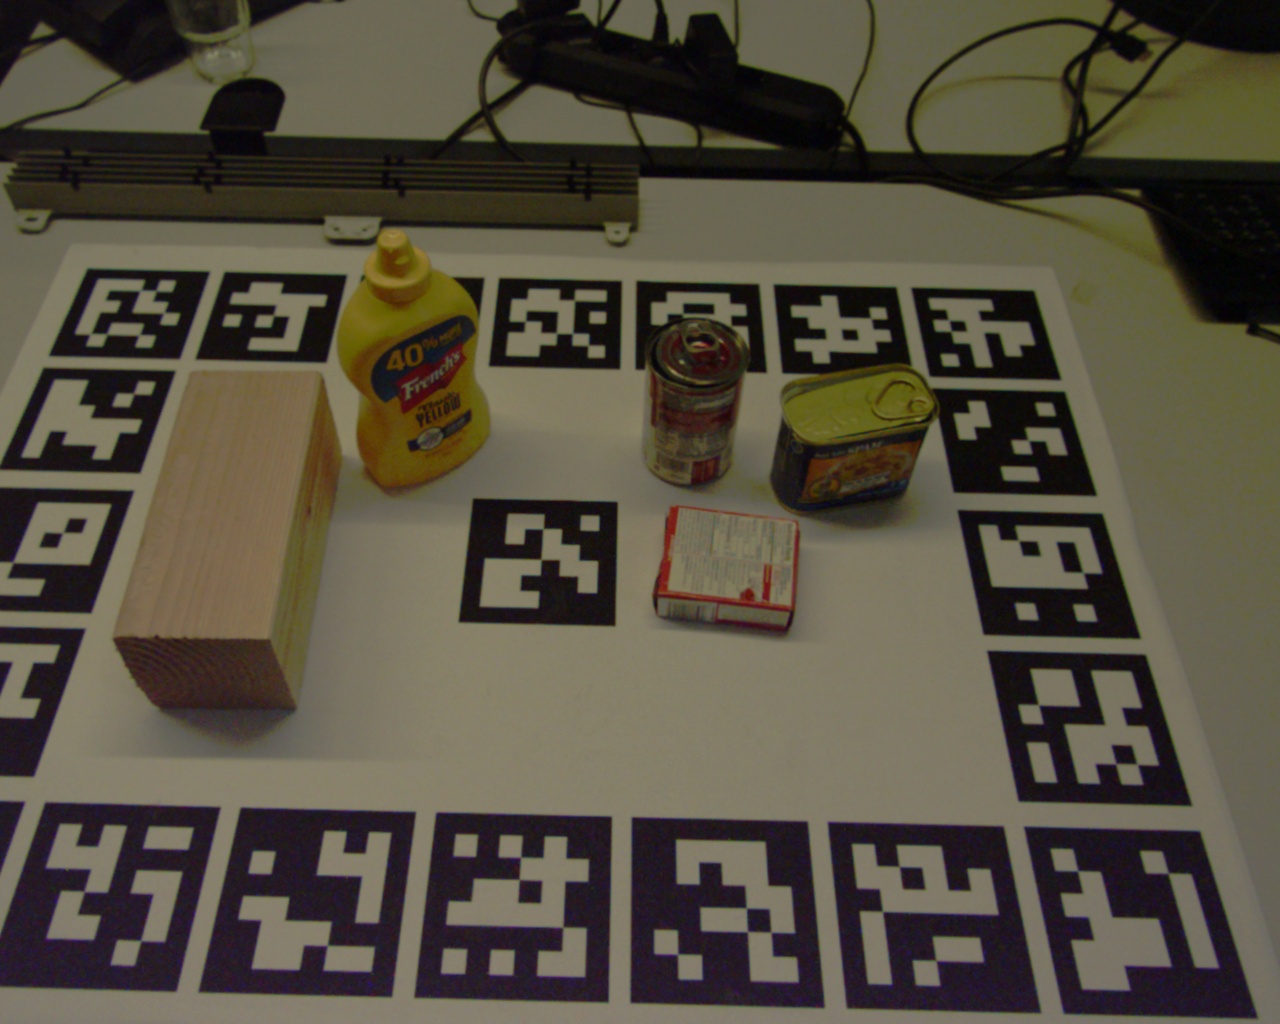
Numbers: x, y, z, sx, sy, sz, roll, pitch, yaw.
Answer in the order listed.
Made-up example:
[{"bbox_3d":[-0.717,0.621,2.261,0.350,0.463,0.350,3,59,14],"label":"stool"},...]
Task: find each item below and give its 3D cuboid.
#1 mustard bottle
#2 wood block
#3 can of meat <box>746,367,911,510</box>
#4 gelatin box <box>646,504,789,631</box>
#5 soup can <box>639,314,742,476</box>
[{"bbox_3d":[-0.159,-0.098,0.782,0.095,0.191,0.059,-20,56,-18],"label":"mustard bottle"},{"bbox_3d":[-0.258,0.013,0.755,0.091,0.089,0.207,2,49,-2],"label":"wood block"},{"bbox_3d":[0.131,-0.050,0.815,0.101,0.083,0.058,-9,55,-11],"label":"can of meat"},{"bbox_3d":[0.054,0.037,0.775,0.090,0.030,0.073,8,56,7],"label":"gelatin box"},{"bbox_3d":[0.034,-0.081,0.813,0.068,0.102,0.068,0,55,-1],"label":"soup can"}]
